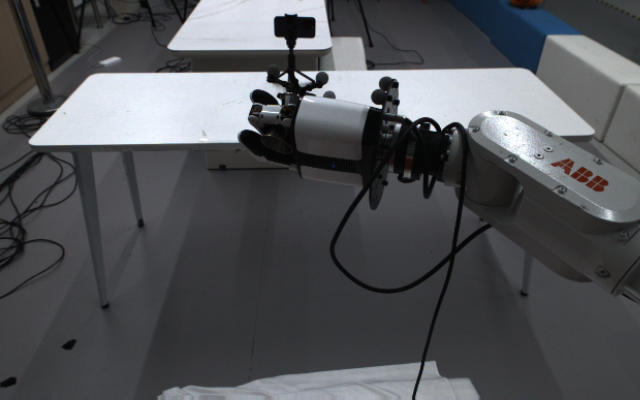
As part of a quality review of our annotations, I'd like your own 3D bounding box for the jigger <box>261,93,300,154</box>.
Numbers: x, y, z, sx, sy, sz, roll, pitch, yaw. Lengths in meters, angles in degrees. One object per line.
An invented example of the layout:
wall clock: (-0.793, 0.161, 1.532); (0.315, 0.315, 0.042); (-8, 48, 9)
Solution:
jigger: (-0.041, -0.098, 0.624); (0.043, 0.043, 0.071); (13, 70, 16)
